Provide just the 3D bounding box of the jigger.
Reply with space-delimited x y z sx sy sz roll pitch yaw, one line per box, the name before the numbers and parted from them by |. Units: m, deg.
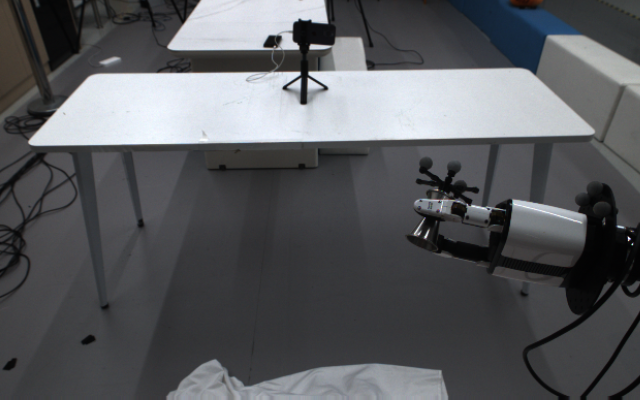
jigger | 0.141 0.023 0.615 0.043 0.043 0.071 20 73 24
